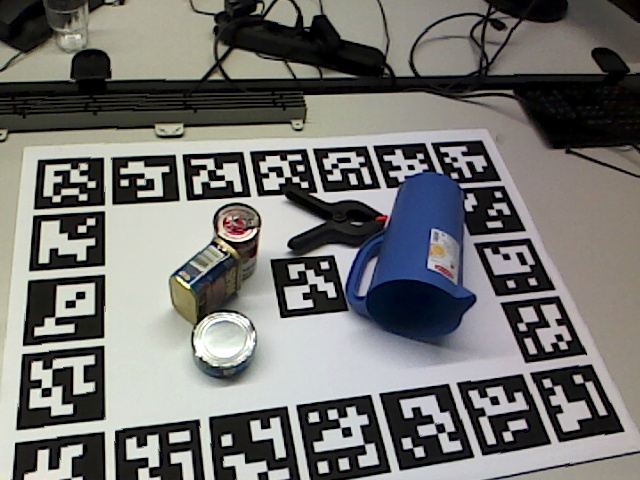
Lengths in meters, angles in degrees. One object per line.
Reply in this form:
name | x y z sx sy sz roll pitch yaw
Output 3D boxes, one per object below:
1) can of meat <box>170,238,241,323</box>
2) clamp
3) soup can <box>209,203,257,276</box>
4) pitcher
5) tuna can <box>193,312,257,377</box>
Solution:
can of meat | -0.160 0.059 0.865 0.058 0.101 0.083 40 61 18
clamp | 0.006 -0.033 1.018 0.164 0.036 0.122 -1 50 -14
soup can | -0.129 0.003 0.918 0.068 0.102 0.068 3 56 -5
pitcher | 0.145 0.012 0.931 0.189 0.132 0.243 -2 43 17
tuna can | -0.131 0.144 0.853 0.085 0.033 0.086 4 55 -7
